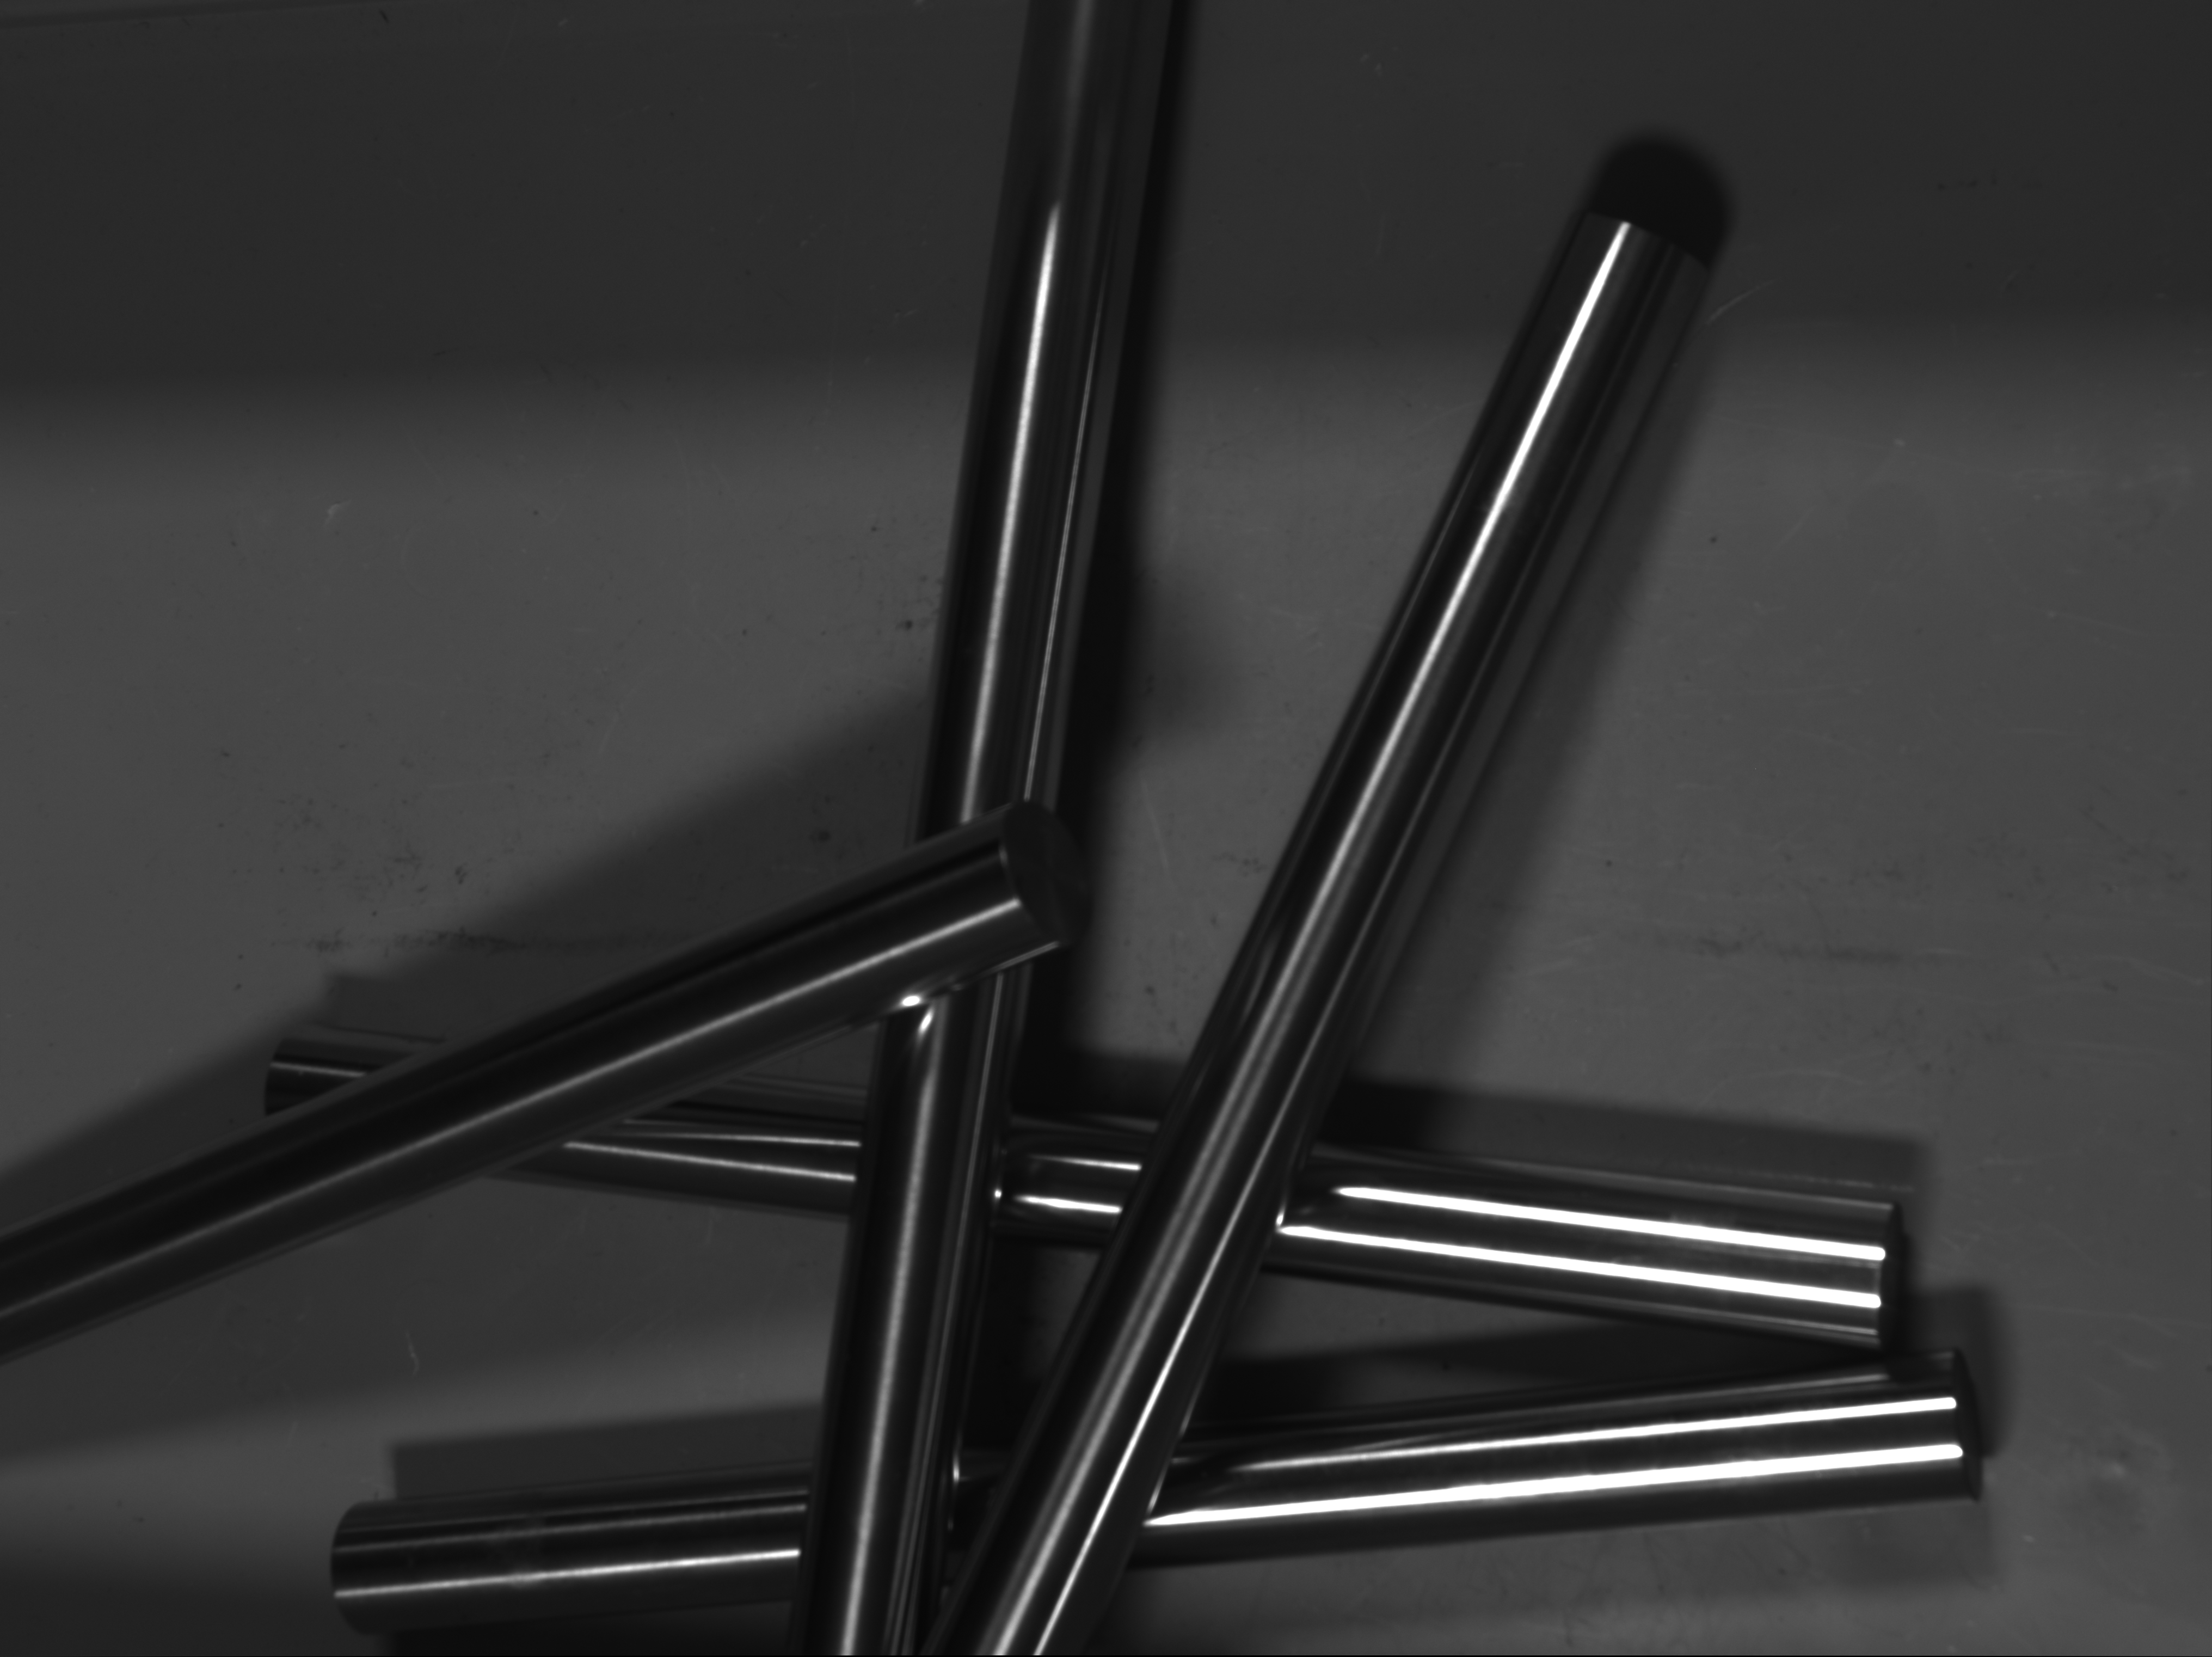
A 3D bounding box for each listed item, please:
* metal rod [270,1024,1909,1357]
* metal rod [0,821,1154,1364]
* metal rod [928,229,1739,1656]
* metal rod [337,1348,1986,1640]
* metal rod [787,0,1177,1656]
[{"bbox_3d":[-0.012,0.062,0.647,0.299,0.025,0.025,5,92,20],"label":"metal rod"},{"bbox_3d":[-0.127,0.058,0.662,0.299,0.025,0.025,-20,83,24],"label":"metal rod"},{"bbox_3d":[0.030,0.041,0.611,0.025,0.025,0.300,25,90,18],"label":"metal rod"},{"bbox_3d":[0.001,0.119,0.643,0.300,0.025,0.025,-9,87,19],"label":"metal rod"},{"bbox_3d":[-0.020,-0.008,0.632,0.025,0.025,0.300,7,86,20],"label":"metal rod"}]
